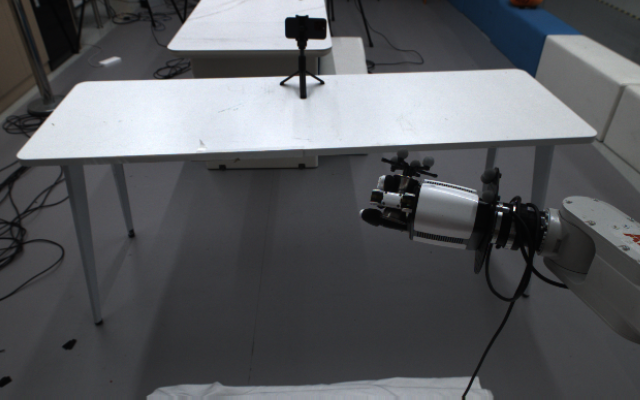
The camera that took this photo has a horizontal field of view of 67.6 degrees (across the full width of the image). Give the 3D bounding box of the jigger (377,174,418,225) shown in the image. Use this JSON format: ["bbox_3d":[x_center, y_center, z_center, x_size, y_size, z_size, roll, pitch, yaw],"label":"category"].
[{"bbox_3d":[0.122,-0.002,0.739,0.043,0.071,0.043,18,-6,2],"label":"jigger"}]
